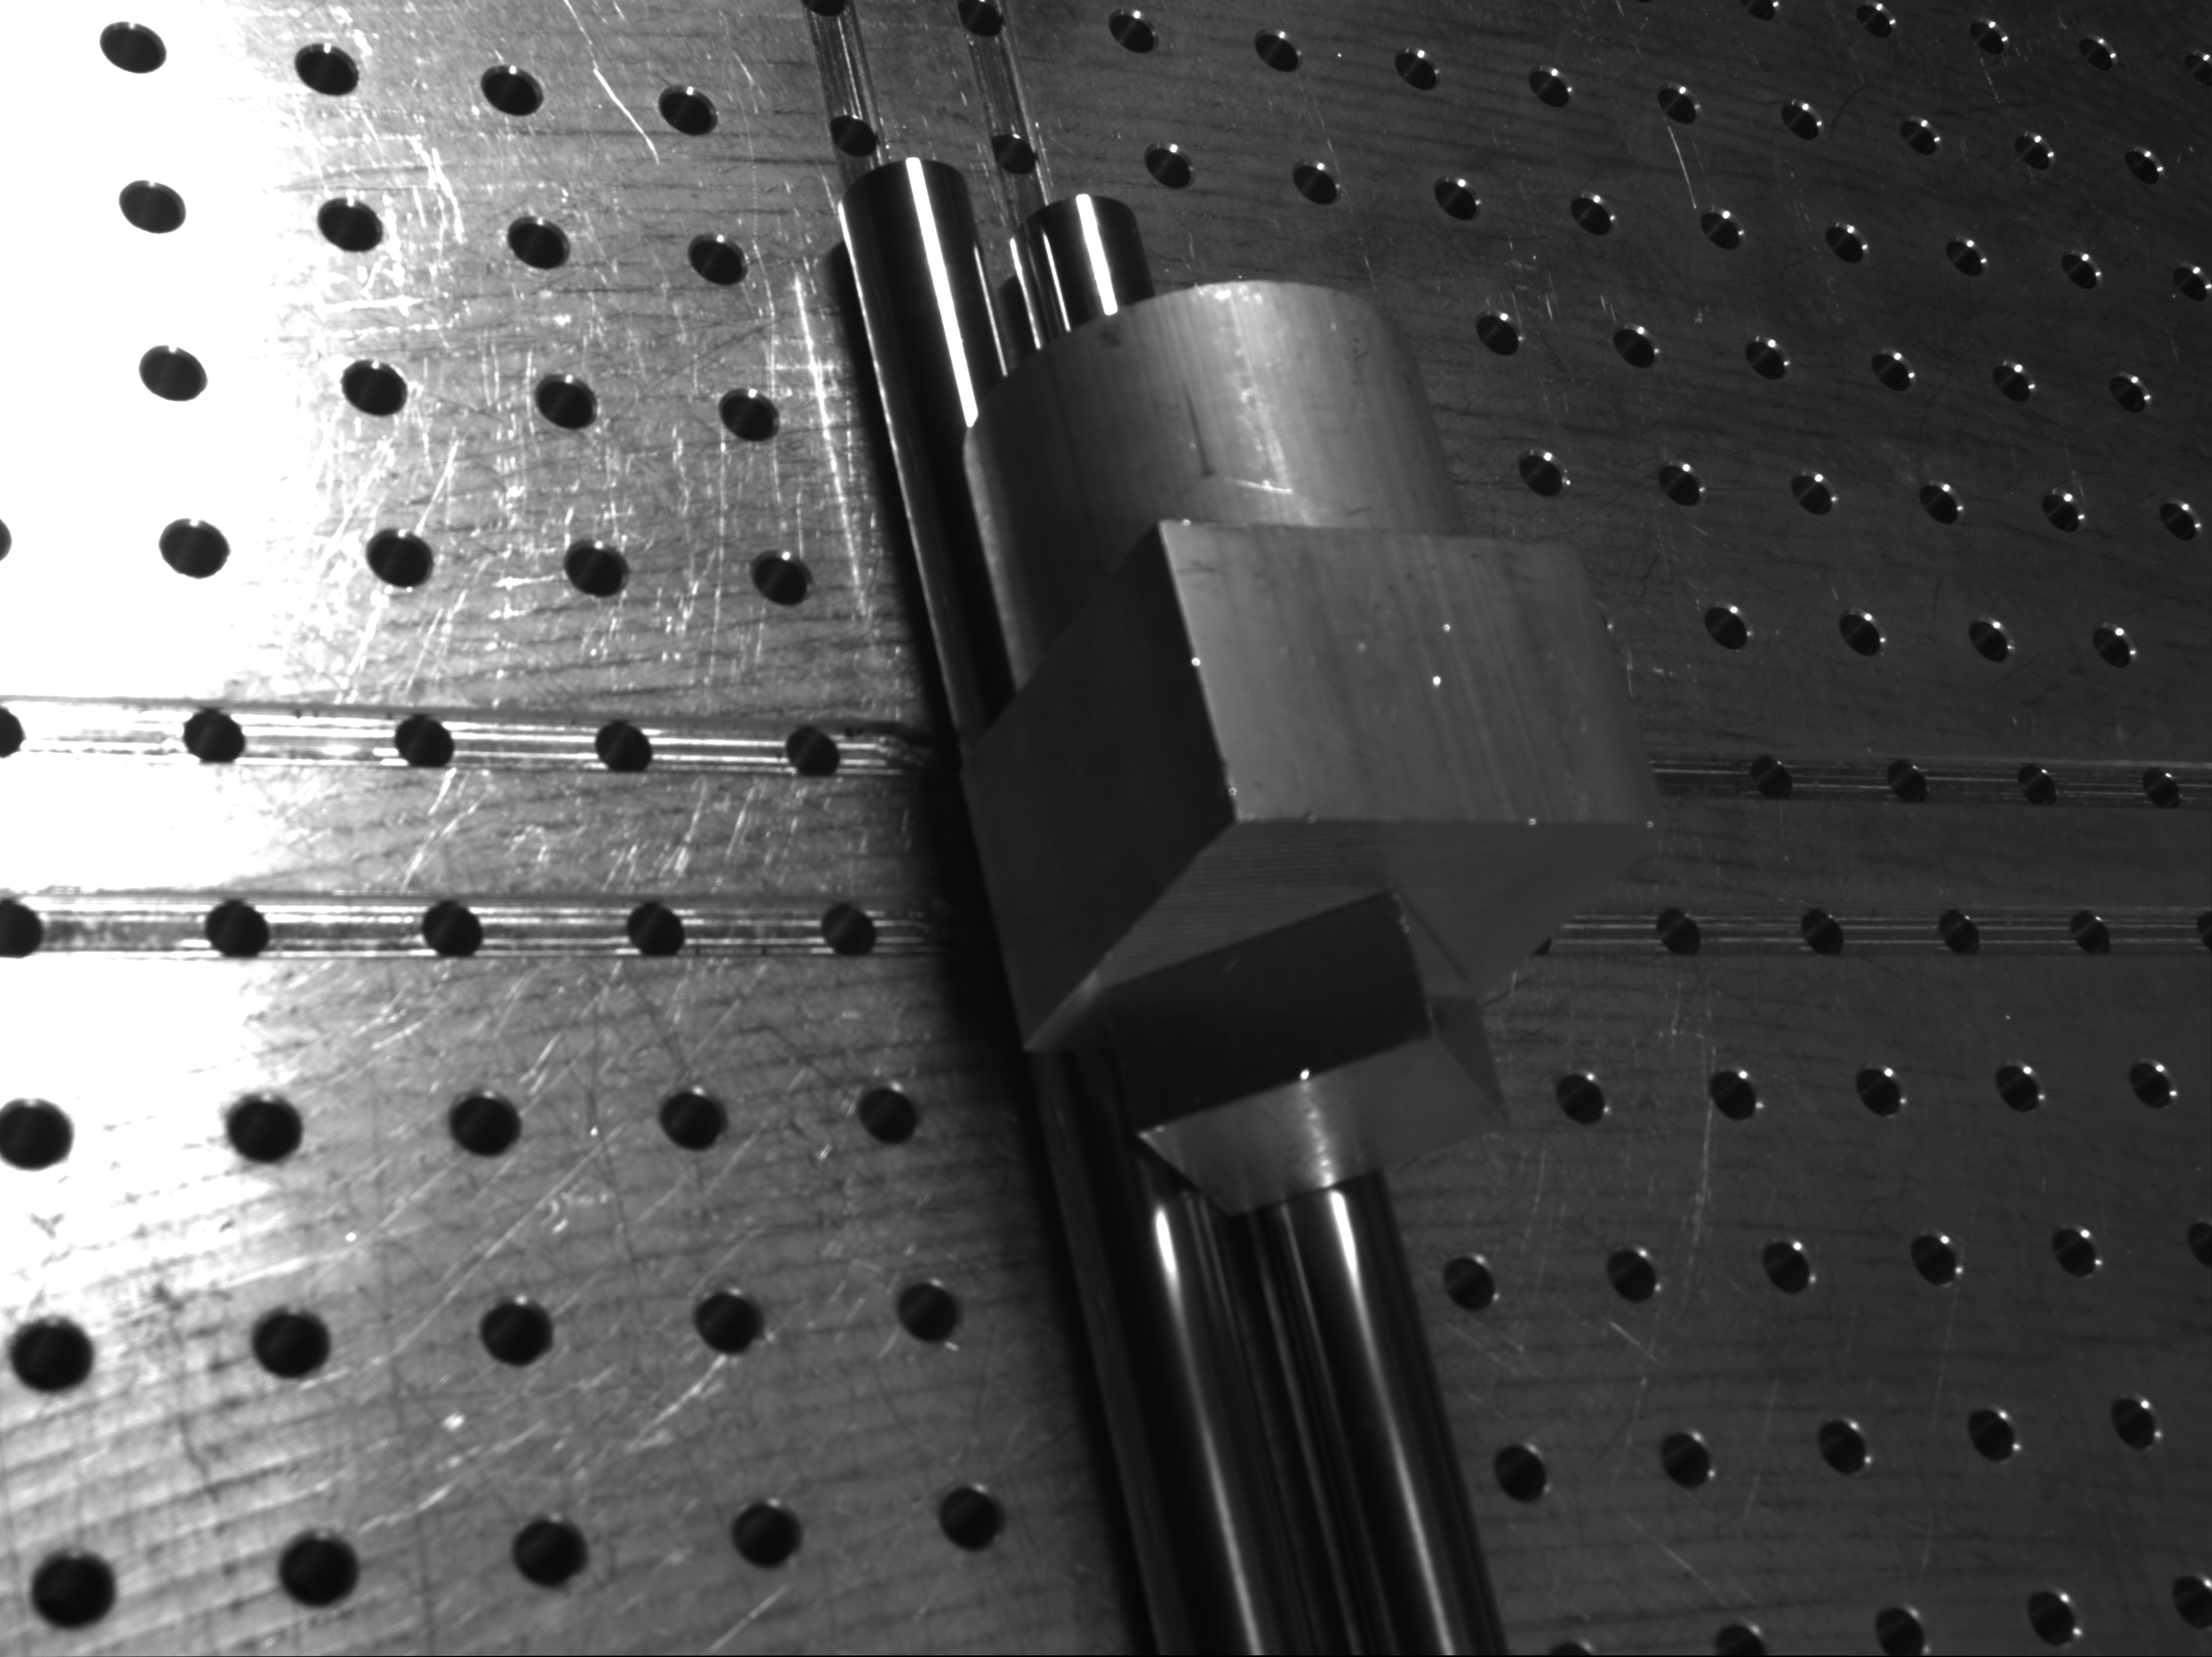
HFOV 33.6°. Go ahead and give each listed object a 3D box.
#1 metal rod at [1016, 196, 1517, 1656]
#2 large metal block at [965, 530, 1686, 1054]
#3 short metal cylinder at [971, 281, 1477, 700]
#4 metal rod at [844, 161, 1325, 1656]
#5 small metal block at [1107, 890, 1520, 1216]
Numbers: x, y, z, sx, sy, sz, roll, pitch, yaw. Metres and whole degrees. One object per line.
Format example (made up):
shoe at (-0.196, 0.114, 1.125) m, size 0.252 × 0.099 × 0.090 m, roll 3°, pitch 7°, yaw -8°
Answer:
metal rod at (0.026, 0.017, 0.648) m, size 0.025 × 0.025 × 0.300 m, roll 1°, pitch 61°, yaw -28°
large metal block at (0.033, -0.004, 0.596) m, size 0.080 × 0.080 × 0.050 m, roll 1°, pitch 61°, yaw -28°
short metal cylinder at (0.021, -0.049, 0.621) m, size 0.080 × 0.080 × 0.050 m, roll 1°, pitch 61°, yaw -28°
metal rod at (-0.006, 0.013, 0.633) m, size 0.025 × 0.025 × 0.300 m, roll 1°, pitch 61°, yaw -28°
small metal block at (0.034, 0.037, 0.593) m, size 0.050 × 0.050 × 0.025 m, roll 46°, pitch 28°, yaw -61°
